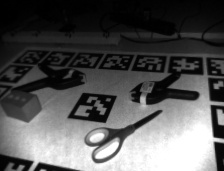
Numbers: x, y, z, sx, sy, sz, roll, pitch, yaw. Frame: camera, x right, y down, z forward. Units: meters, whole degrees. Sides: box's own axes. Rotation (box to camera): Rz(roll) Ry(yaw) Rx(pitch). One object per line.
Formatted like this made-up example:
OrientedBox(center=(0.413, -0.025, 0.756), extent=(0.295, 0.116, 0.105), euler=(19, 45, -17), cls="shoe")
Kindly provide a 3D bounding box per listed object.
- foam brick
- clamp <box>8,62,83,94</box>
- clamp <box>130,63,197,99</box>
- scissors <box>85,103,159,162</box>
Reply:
OrientedBox(center=(-0.236, 0.056, 0.559), extent=(0.077, 0.052, 0.053), euler=(4, 42, 22), cls="foam brick")
OrientedBox(center=(-0.189, -0.025, 0.660), extent=(0.202, 0.037, 0.165), euler=(1, 36, 9), cls="clamp")
OrientedBox(center=(0.126, -0.004, 0.585), extent=(0.166, 0.037, 0.120), euler=(-16, 46, -8), cls="clamp")
OrientedBox(center=(0.034, 0.087, 0.492), extent=(0.204, 0.016, 0.086), euler=(-30, 51, -27), cls="scissors")
